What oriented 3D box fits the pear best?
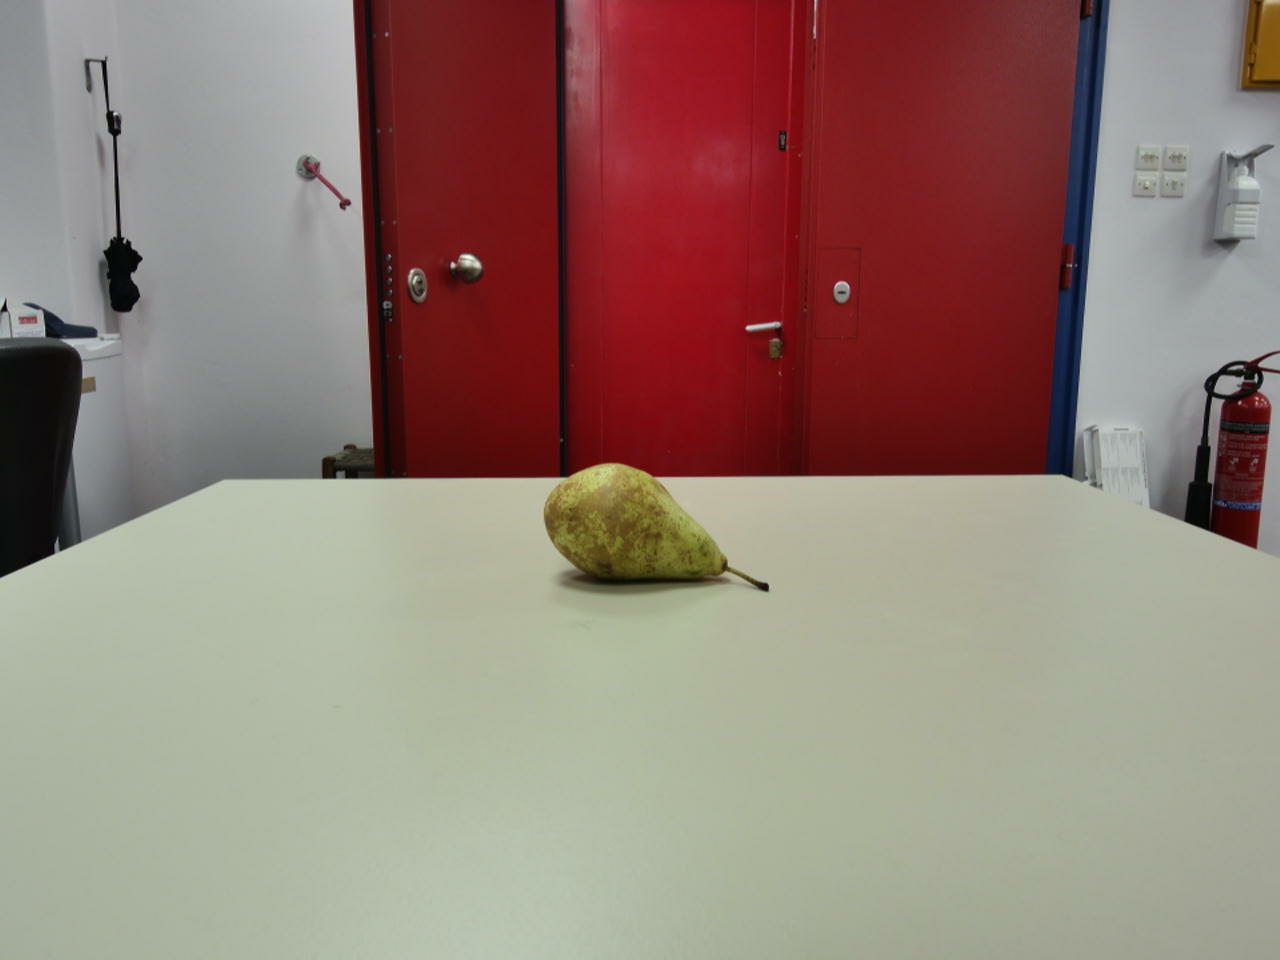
[{"bbox_3d":[0.006,0.025,0.617,0.128,0.075,0.071,-3,8,-9],"label":"pear"}]
